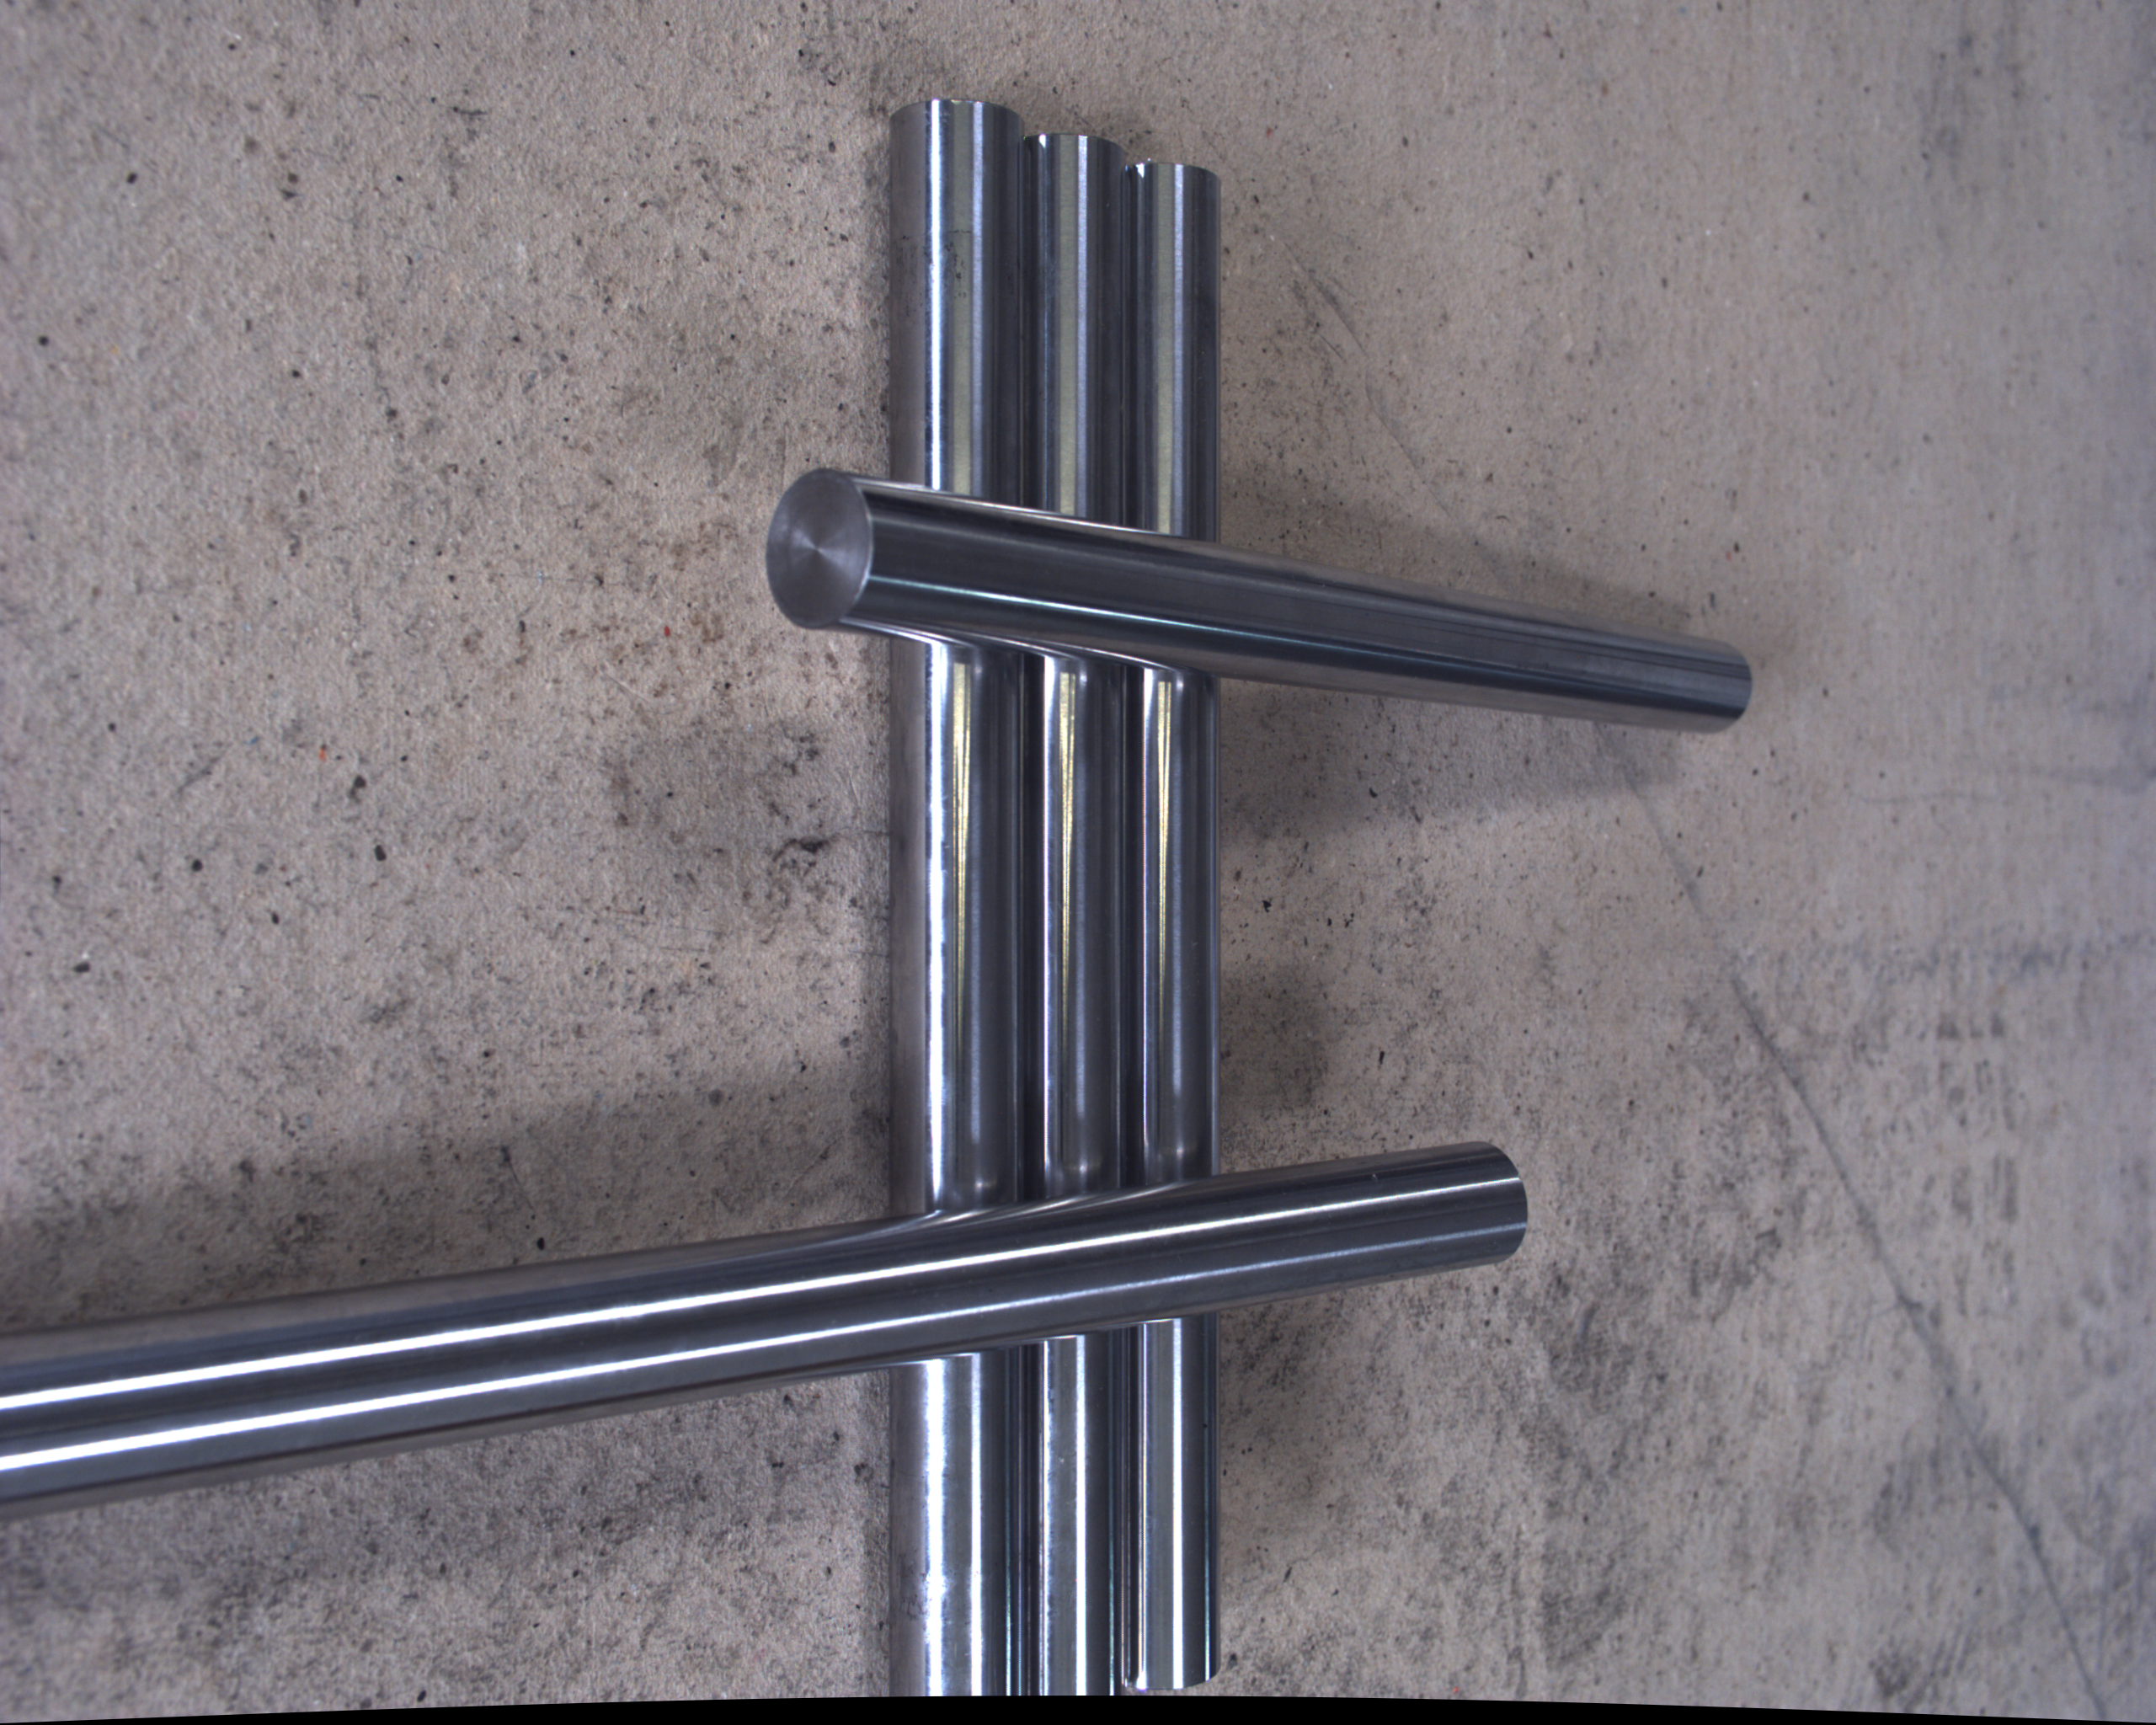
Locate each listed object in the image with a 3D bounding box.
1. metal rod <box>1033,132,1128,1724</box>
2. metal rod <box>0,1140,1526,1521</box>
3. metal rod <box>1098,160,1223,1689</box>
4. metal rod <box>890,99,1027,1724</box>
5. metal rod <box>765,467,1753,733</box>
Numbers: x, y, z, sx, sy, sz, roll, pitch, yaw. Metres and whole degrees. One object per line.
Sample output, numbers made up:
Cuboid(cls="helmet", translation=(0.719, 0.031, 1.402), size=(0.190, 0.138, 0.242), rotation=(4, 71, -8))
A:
Cuboid(cls="metal rod", translation=(-0.003, 0.012, 0.403), size=(0.025, 0.025, 0.298), rotation=(0, 90, -40))
Cuboid(cls="metal rod", translation=(-0.045, 0.073, 0.344), size=(0.303, 0.025, 0.025), rotation=(-2, 91, -33))
Cuboid(cls="metal rod", translation=(0.016, 0.012, 0.419), size=(0.025, 0.025, 0.298), rotation=(0, 90, -40))
Cuboid(cls="metal rod", translation=(-0.022, 0.012, 0.387), size=(0.025, 0.025, 0.298), rotation=(0, 90, -40))
Cuboid(cls="metal rod", translation=(0.062, -0.047, 0.433), size=(0.302, 0.025, 0.025), rotation=(1, 90, -47))
